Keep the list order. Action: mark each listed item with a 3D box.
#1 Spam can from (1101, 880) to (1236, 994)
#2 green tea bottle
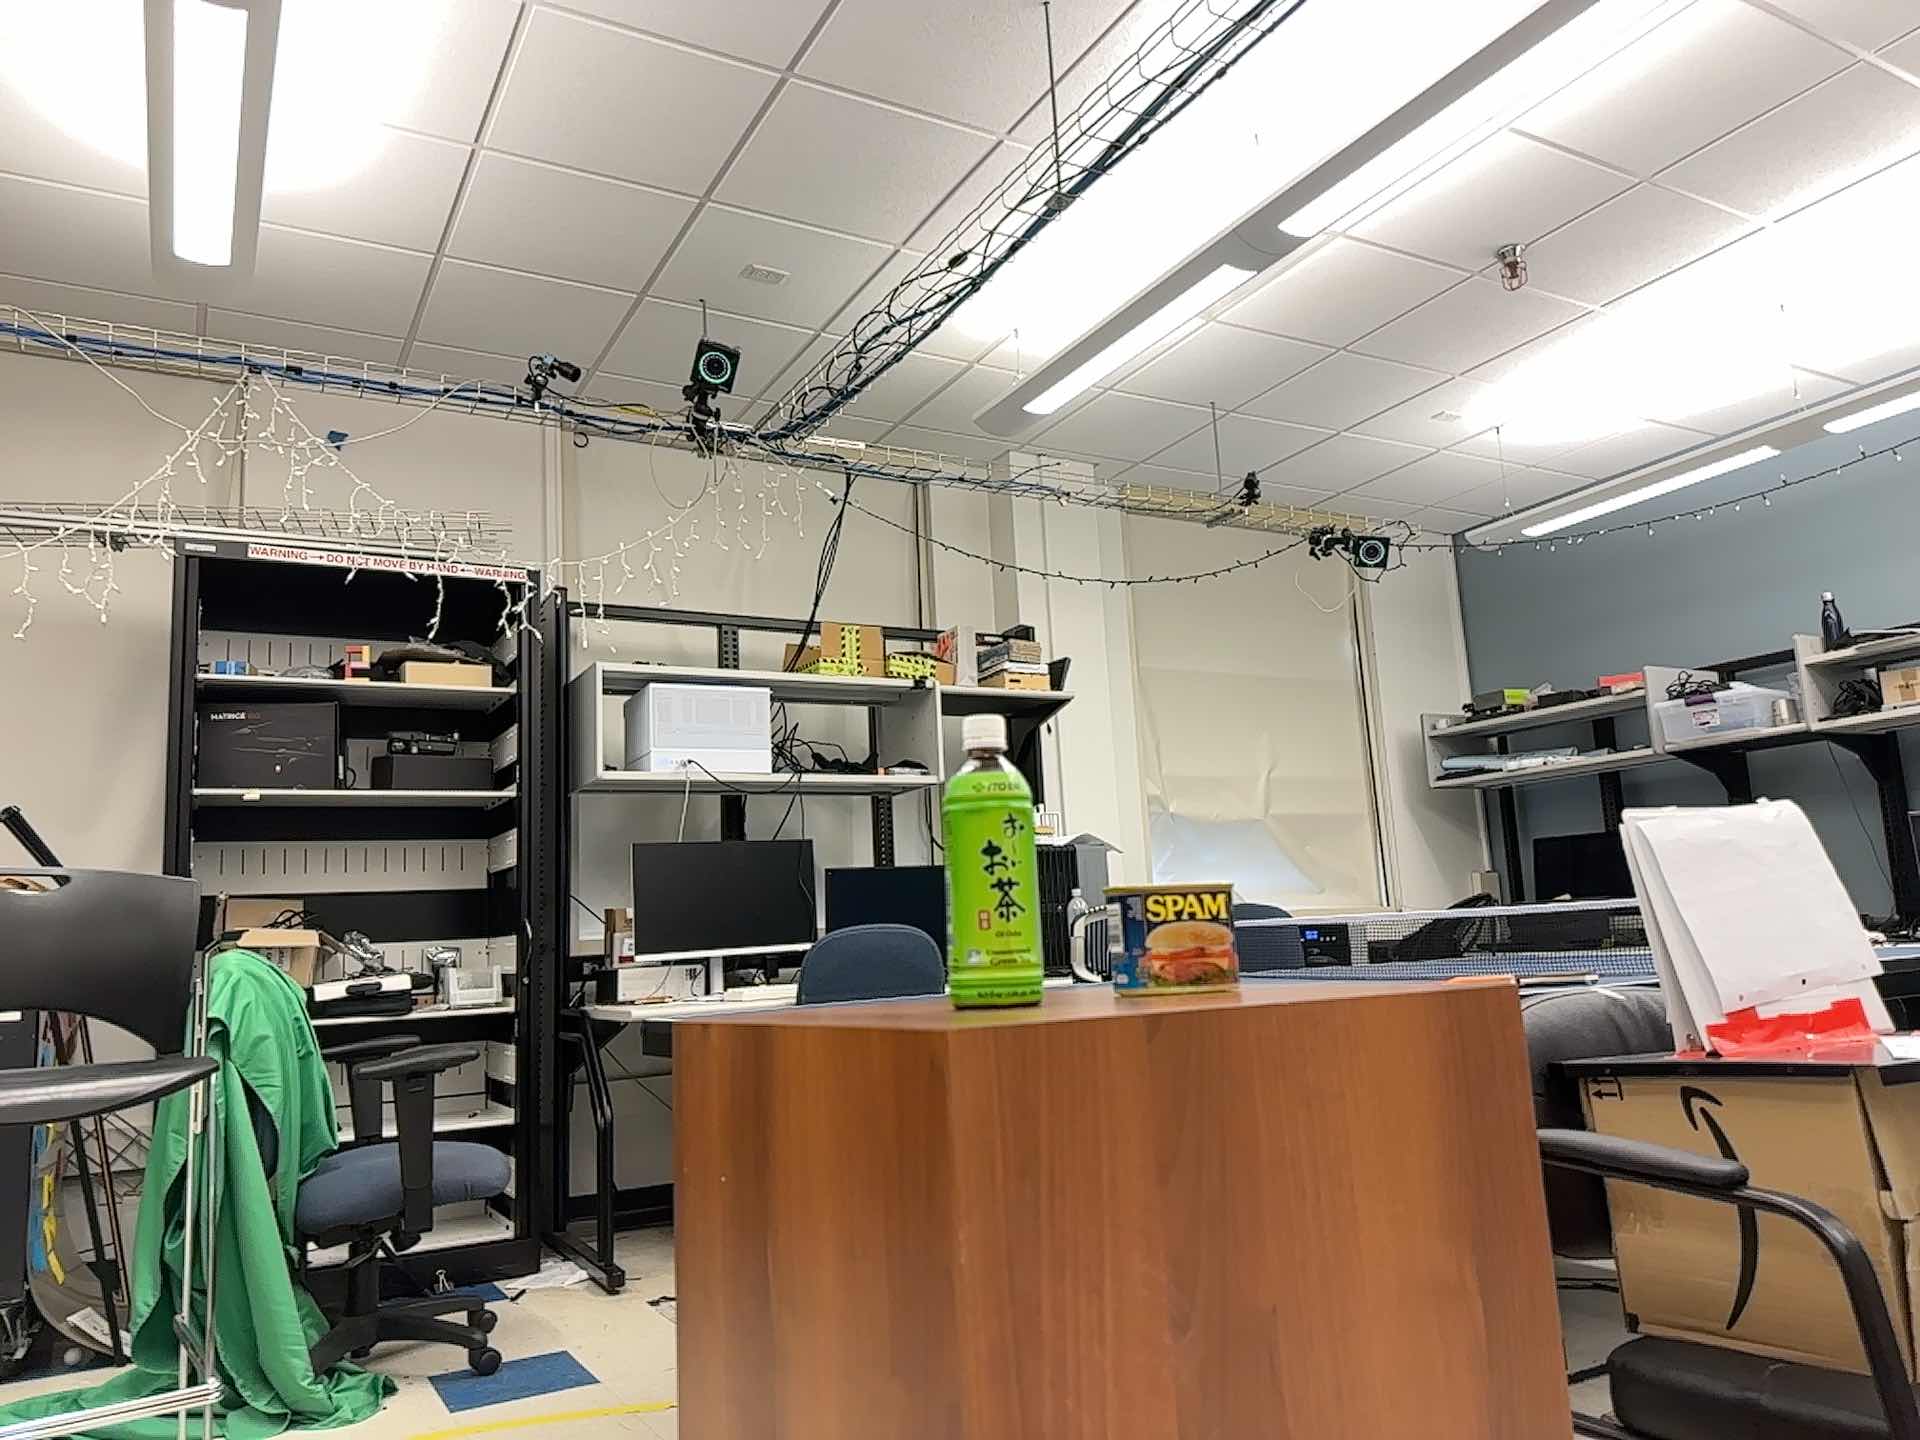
[{"bbox_3d":[0.167,0.173,1.075,0.100,0.083,0.056,2,-11,-20],"label":"Spam can"},{"bbox_3d":[0.019,0.098,0.985,0.073,0.212,0.073,-4,-10,-1],"label":"green tea bottle"}]
